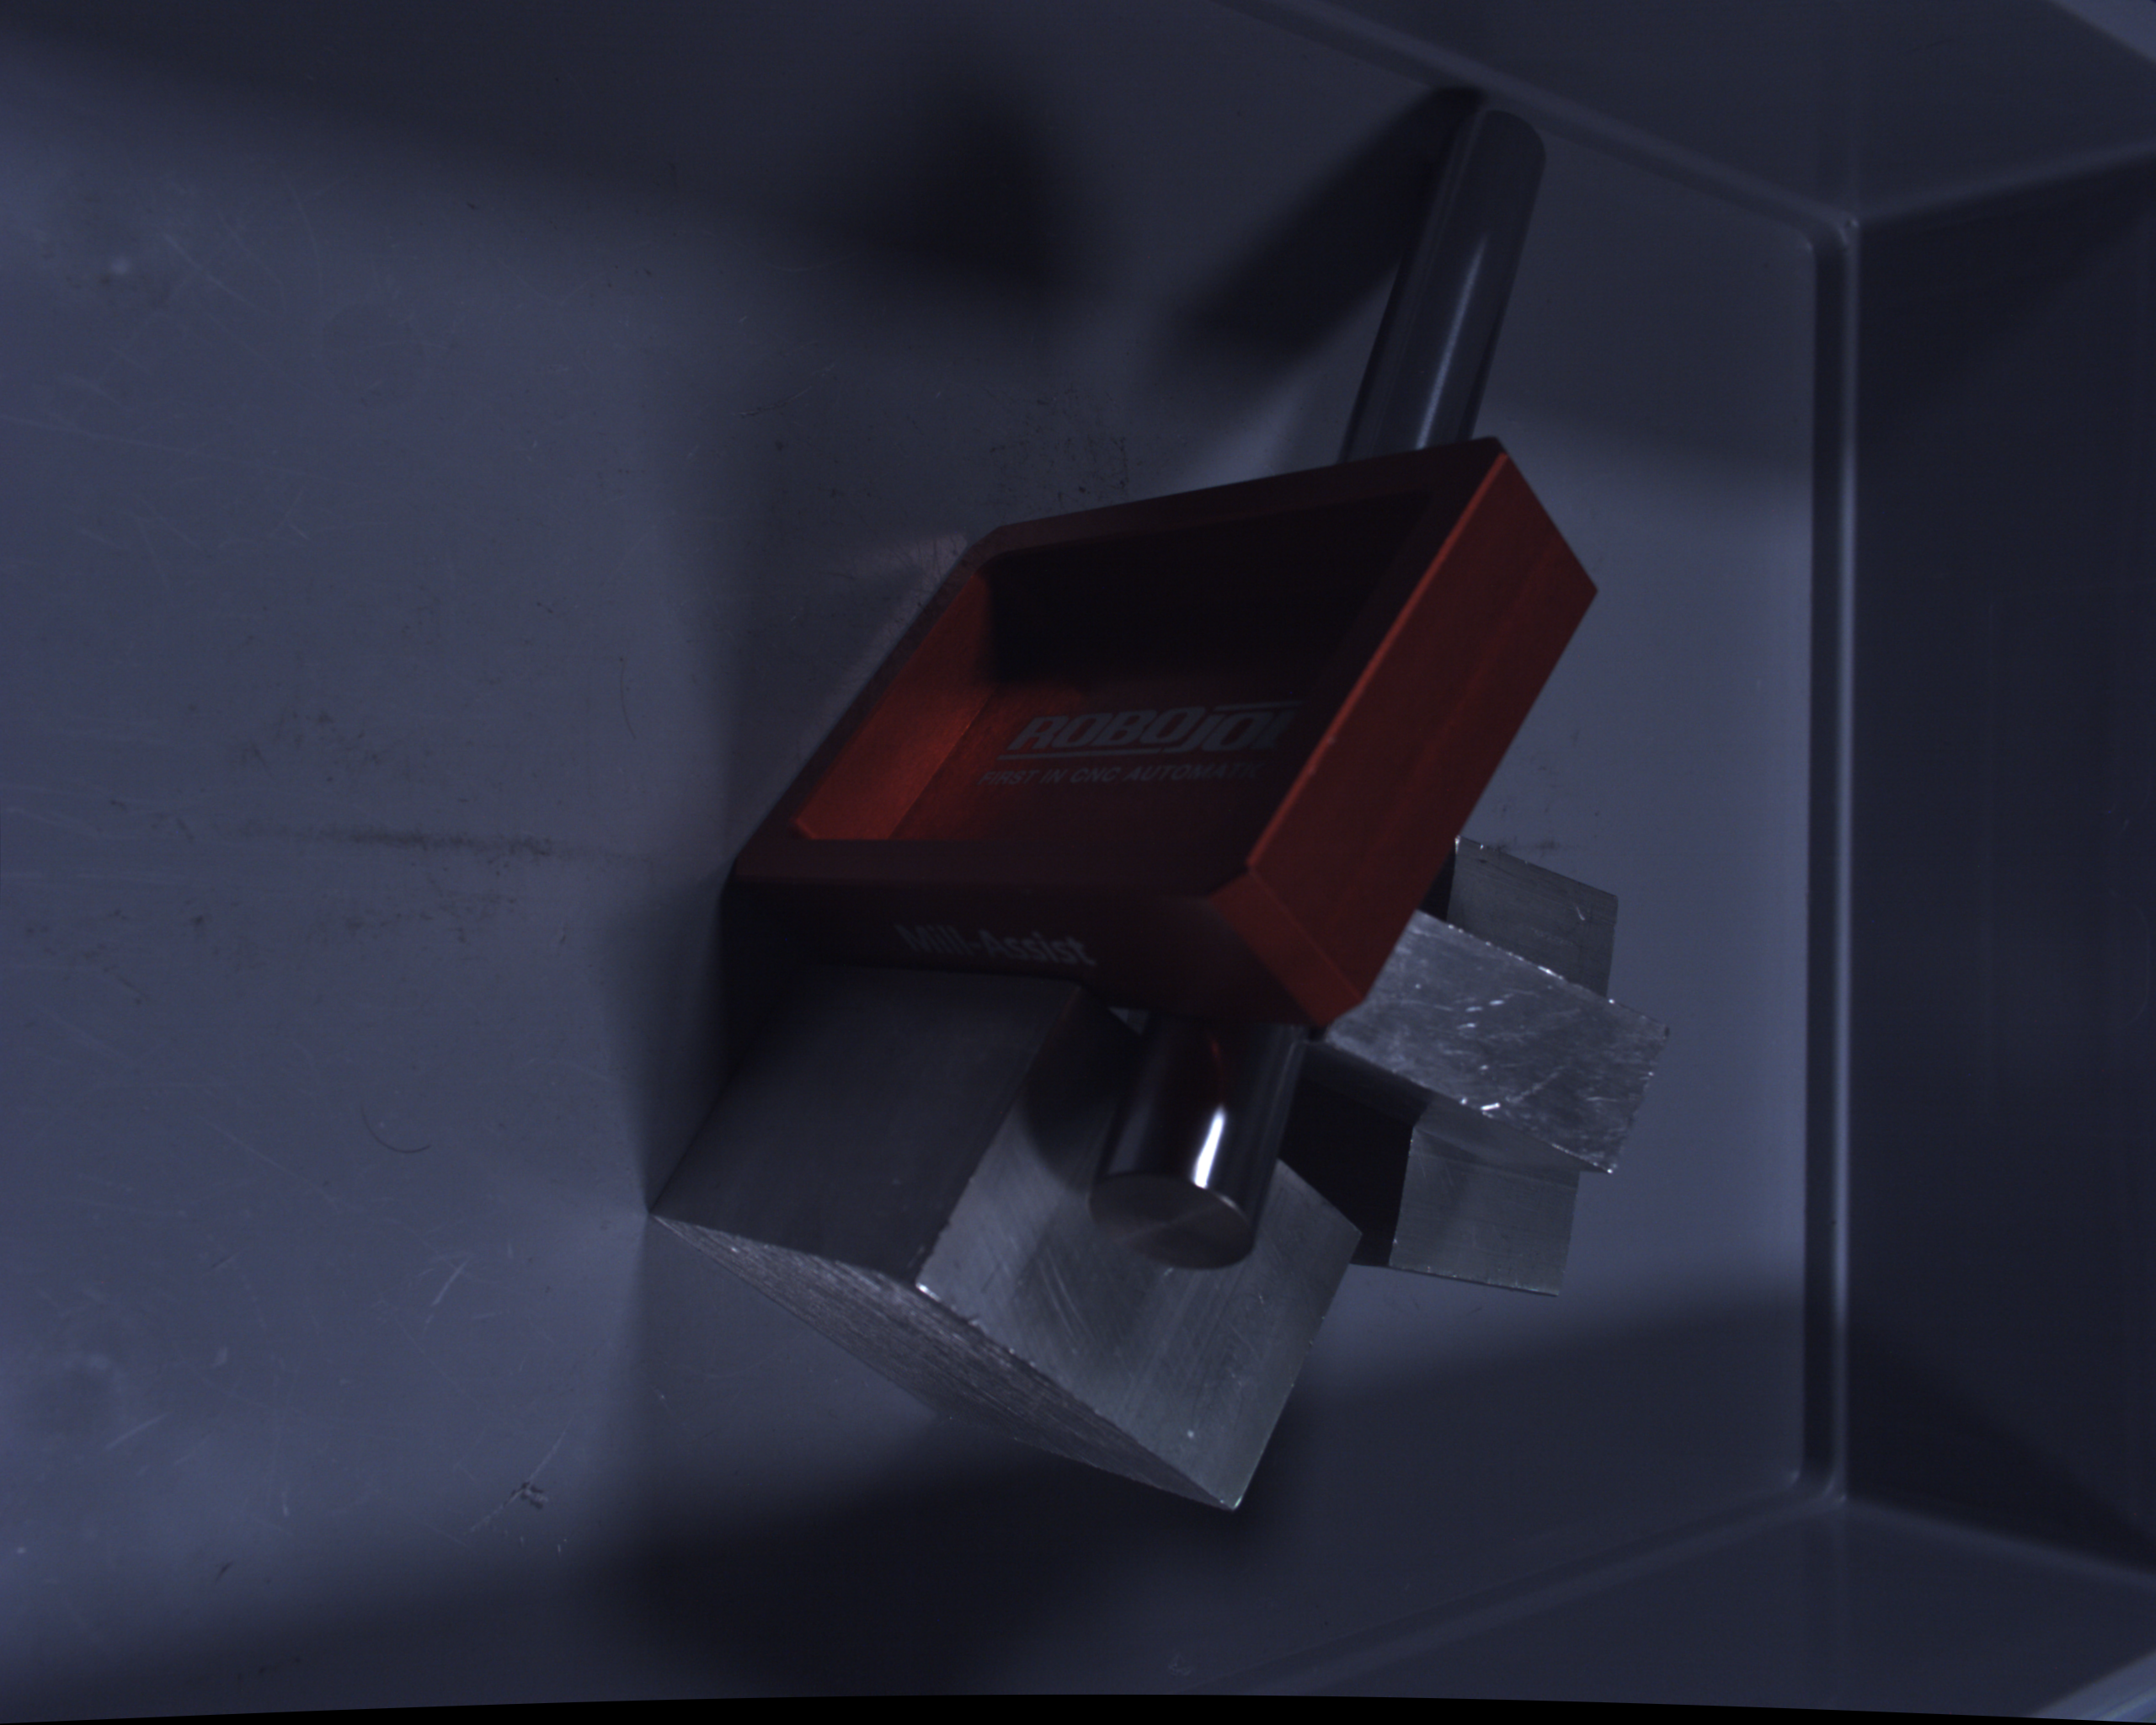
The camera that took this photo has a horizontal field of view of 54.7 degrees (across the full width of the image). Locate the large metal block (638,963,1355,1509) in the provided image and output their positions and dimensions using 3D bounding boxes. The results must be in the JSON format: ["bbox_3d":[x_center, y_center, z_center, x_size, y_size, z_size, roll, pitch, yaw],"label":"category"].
[{"bbox_3d":[-0.014,0.062,0.361,0.080,0.080,0.050,44,63,-32],"label":"large metal block"}]

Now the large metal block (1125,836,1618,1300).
[{"bbox_3d":[0.054,0.039,0.418,0.050,0.080,0.080,18,79,-39],"label":"large metal block"}]

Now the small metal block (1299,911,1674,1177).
[{"bbox_3d":[0.062,0.029,0.346,0.050,0.050,0.025,26,80,-5],"label":"small metal block"}]

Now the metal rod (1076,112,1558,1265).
[{"bbox_3d":[0.056,-0.057,0.395,0.025,0.025,0.300,49,44,-29],"label":"metal rod"}]

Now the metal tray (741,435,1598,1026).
[{"bbox_3d":[0.010,-0.021,0.346,0.030,0.130,0.090,48,63,-29],"label":"metal tray"}]
